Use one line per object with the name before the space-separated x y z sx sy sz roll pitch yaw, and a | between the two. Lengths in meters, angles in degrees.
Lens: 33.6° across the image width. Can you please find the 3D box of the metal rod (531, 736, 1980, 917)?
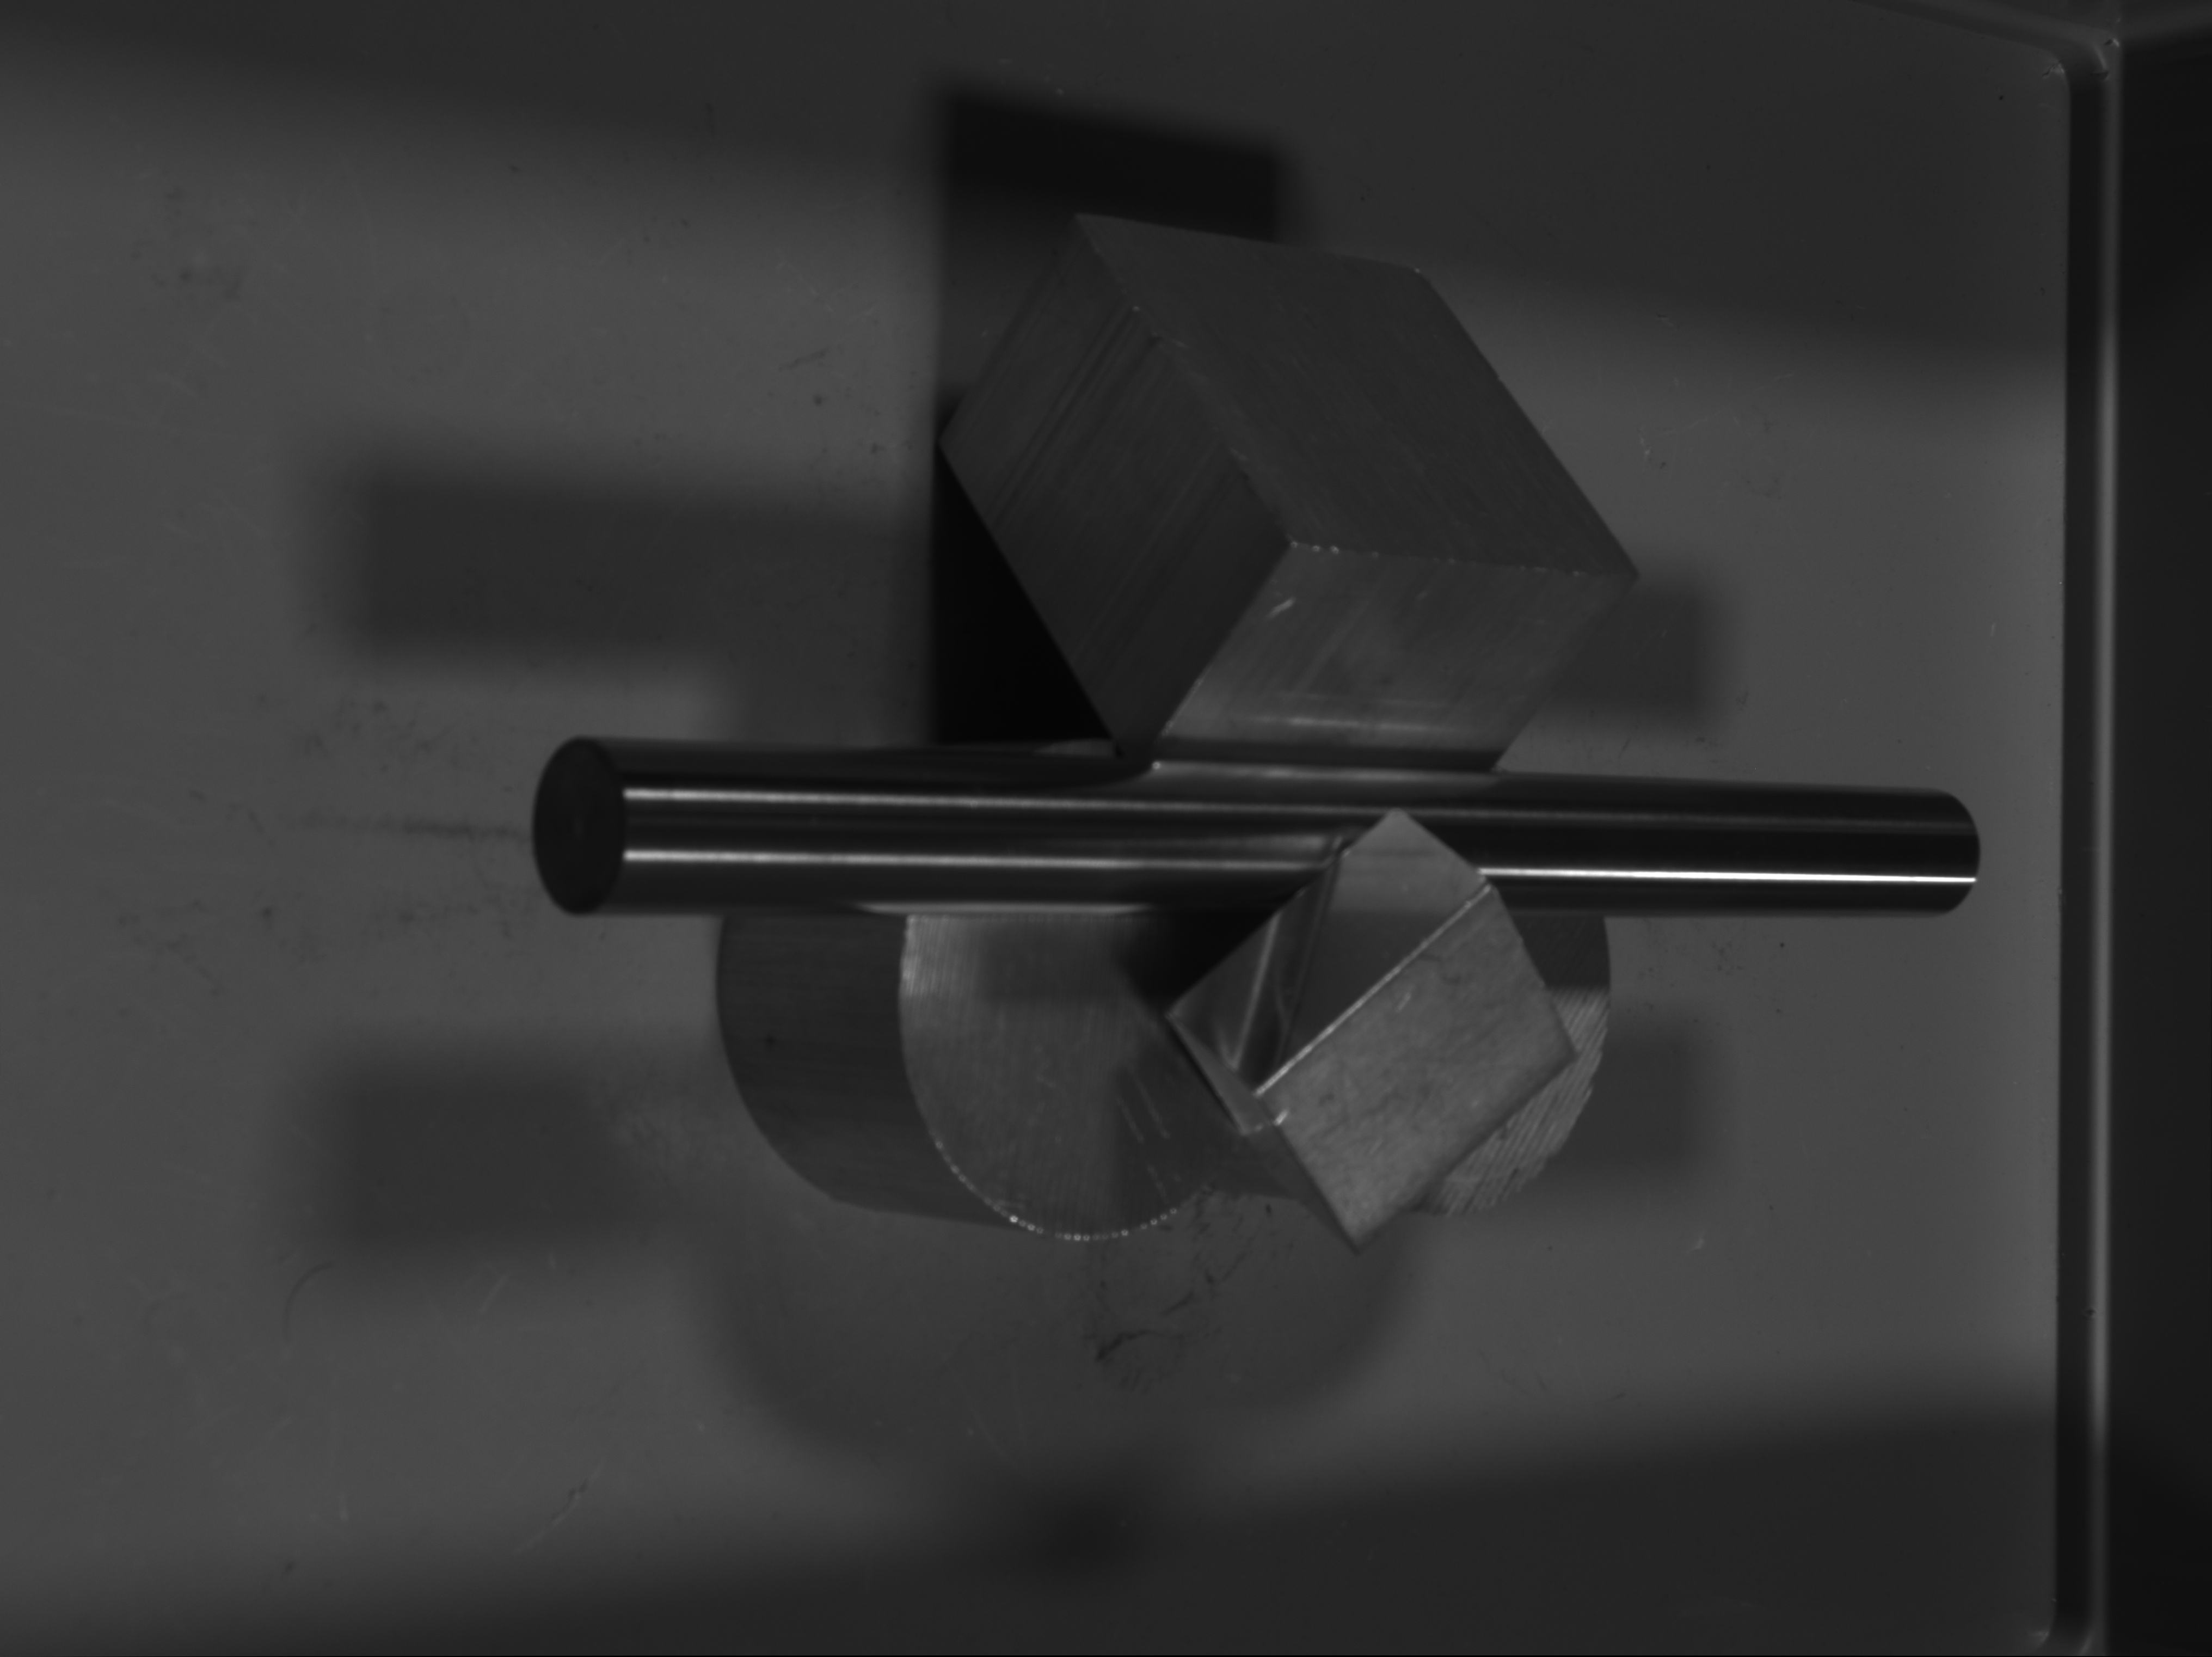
metal rod | 0.042 0.002 0.606 0.301 0.025 0.025 1 89 -40

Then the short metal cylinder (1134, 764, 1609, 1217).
short metal cylinder | 0.044 0.028 0.657 0.080 0.050 0.080 0 90 -40

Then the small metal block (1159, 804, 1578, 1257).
small metal block | 0.043 0.033 0.593 0.050 0.025 0.050 -42 137 -9

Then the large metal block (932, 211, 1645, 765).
large metal block | 0.030 -0.054 0.618 0.080 0.050 0.080 1 46 -40

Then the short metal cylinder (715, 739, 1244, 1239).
short metal cylinder | -0.017 0.026 0.606 0.080 0.050 0.080 0 90 -40
